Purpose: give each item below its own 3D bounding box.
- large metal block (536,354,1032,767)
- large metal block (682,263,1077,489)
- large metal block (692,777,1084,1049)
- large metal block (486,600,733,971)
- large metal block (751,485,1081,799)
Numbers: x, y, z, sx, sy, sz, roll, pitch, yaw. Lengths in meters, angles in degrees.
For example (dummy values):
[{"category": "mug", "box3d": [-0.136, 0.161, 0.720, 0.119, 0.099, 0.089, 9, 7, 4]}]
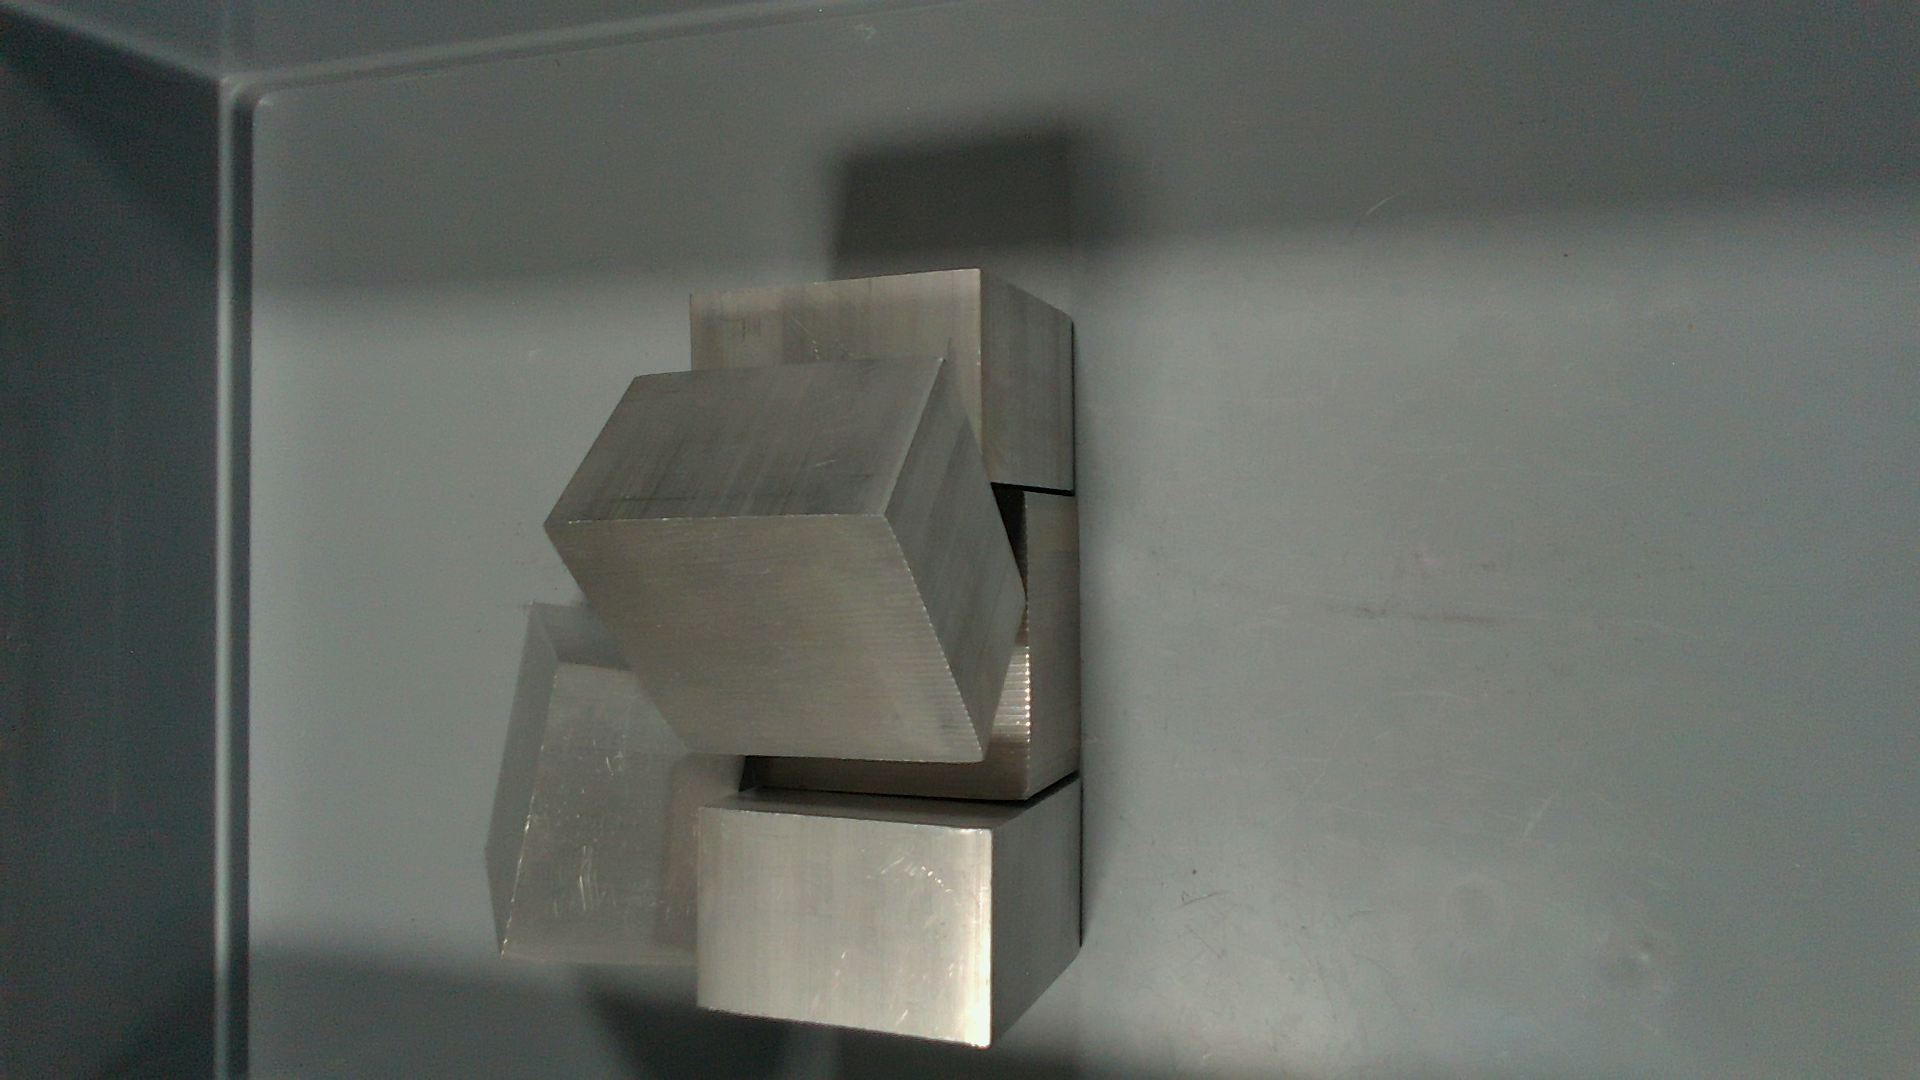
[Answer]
[{"category": "large metal block", "box3d": [-0.035, 0.007, 0.318, 0.080, 0.080, 0.050, -1, 45, 20]}, {"category": "large metal block", "box3d": [-0.018, -0.039, 0.371, 0.080, 0.080, 0.050, -1, 90, 20]}, {"category": "large metal block", "box3d": [-0.016, 0.093, 0.370, 0.080, 0.080, 0.050, 0, 90, 20]}, {"category": "large metal block", "box3d": [-0.101, 0.067, 0.393, 0.050, 0.080, 0.080, 10, 95, -23]}, {"category": "large metal block", "box3d": [-0.012, 0.027, 0.387, 0.080, 0.050, 0.080, -1, 90, 20]}]
